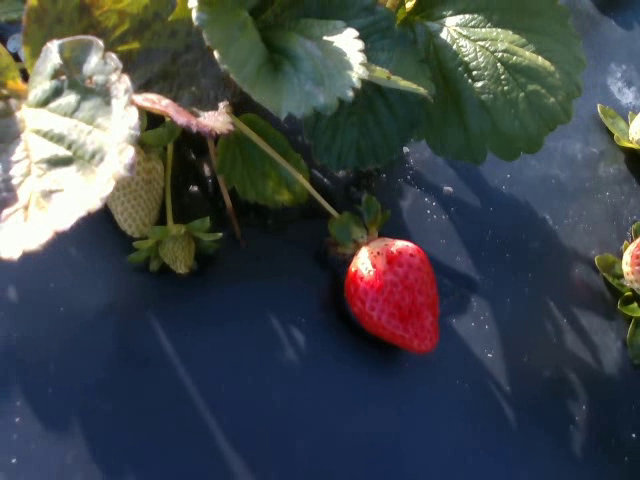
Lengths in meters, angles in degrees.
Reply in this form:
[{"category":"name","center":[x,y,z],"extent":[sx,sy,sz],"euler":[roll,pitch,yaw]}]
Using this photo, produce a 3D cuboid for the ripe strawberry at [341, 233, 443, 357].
[{"category":"ripe strawberry","center":[0.026,0.019,0.184],"extent":[0.030,0.045,0.033],"euler":[-28,-20,14]}]
